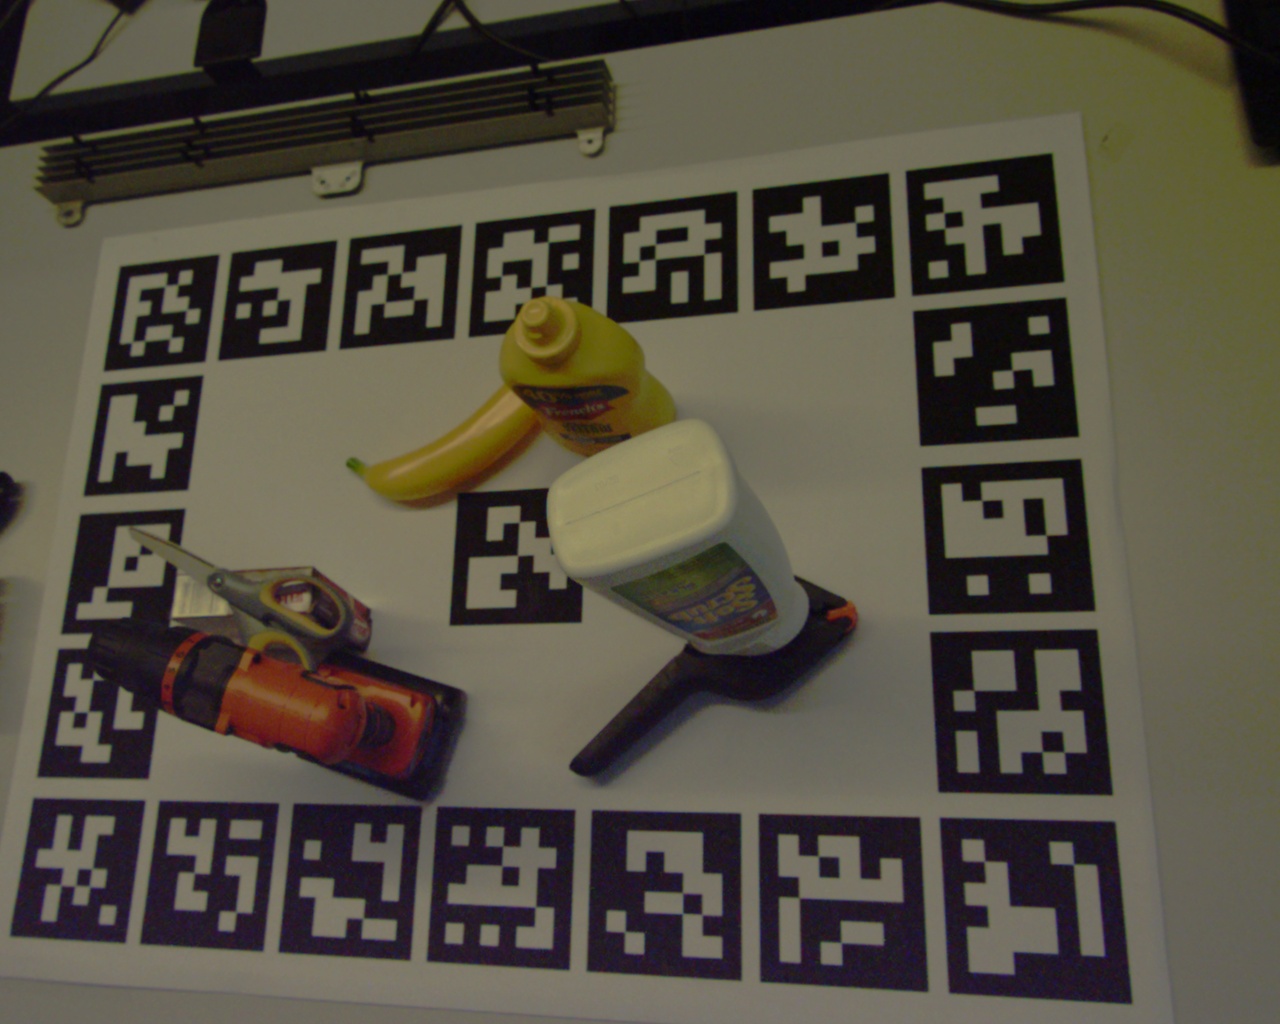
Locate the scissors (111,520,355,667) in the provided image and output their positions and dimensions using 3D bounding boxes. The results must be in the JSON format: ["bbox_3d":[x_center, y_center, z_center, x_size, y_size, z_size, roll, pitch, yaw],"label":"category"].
[{"bbox_3d":[-0.299,0.049,0.804,0.204,0.016,0.087,23,85,16],"label":"scissors"}]

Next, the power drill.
[{"bbox_3d":[-0.237,0.130,0.749,0.186,0.185,0.057,10,70,20],"label":"power drill"}]

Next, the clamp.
[{"bbox_3d":[0.034,0.077,0.785,0.204,0.036,0.166,-9,74,11],"label":"clamp"}]

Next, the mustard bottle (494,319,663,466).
[{"bbox_3d":[-0.049,-0.085,0.794,0.097,0.190,0.058,11,77,16],"label":"mustard bottle"}]

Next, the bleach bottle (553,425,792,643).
[{"bbox_3d":[0.044,0.032,0.684,0.103,0.248,0.068,-23,66,15],"label":"bleach bottle"}]

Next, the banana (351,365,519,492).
[{"bbox_3d":[-0.138,-0.075,0.886,0.197,0.038,0.075,-41,52,1],"label":"banana"}]

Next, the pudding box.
[{"bbox_3d":[-0.275,0.073,0.859,0.115,0.089,0.039,1,68,15],"label":"pudding box"}]
